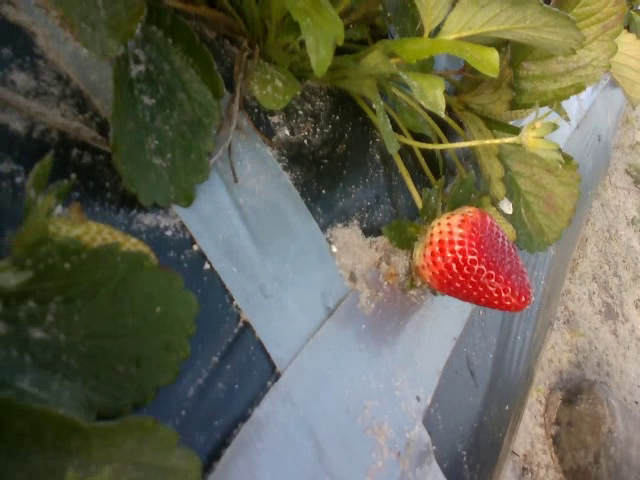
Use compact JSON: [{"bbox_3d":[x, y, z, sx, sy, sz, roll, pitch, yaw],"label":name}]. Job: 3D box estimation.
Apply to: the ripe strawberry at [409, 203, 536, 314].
[{"bbox_3d":[0.032,0.004,0.118,0.023,0.026,0.021,-21,-32,-29],"label":"ripe strawberry"}]
